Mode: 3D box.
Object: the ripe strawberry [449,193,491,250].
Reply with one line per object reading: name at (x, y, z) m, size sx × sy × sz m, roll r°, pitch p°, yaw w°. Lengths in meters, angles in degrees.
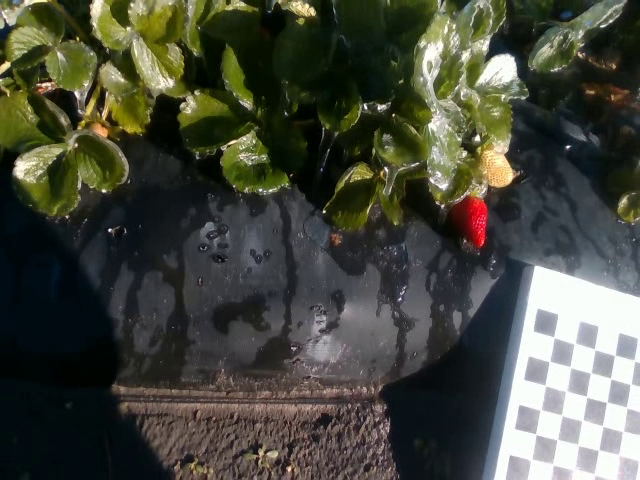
ripe strawberry at (0.156, -0.018, 0.560) m, size 0.041 × 0.052 × 0.040 m, roll -1°, pitch -14°, yaw -14°
